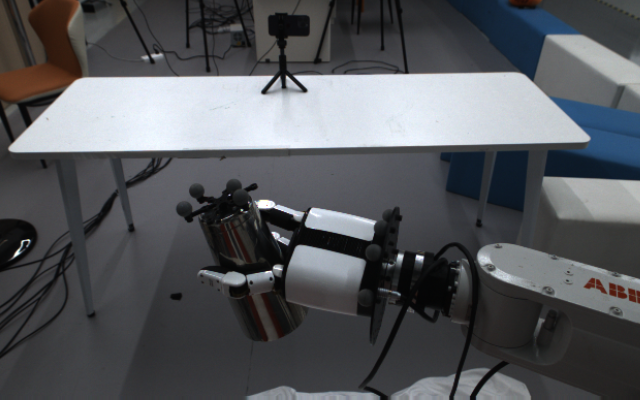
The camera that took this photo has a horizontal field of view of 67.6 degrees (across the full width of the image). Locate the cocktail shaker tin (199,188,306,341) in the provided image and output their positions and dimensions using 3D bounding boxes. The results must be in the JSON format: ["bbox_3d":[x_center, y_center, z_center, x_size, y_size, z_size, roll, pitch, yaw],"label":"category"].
[{"bbox_3d":[-0.083,0.080,0.588,0.093,0.170,0.093,-15,27,8],"label":"cocktail shaker tin"}]
